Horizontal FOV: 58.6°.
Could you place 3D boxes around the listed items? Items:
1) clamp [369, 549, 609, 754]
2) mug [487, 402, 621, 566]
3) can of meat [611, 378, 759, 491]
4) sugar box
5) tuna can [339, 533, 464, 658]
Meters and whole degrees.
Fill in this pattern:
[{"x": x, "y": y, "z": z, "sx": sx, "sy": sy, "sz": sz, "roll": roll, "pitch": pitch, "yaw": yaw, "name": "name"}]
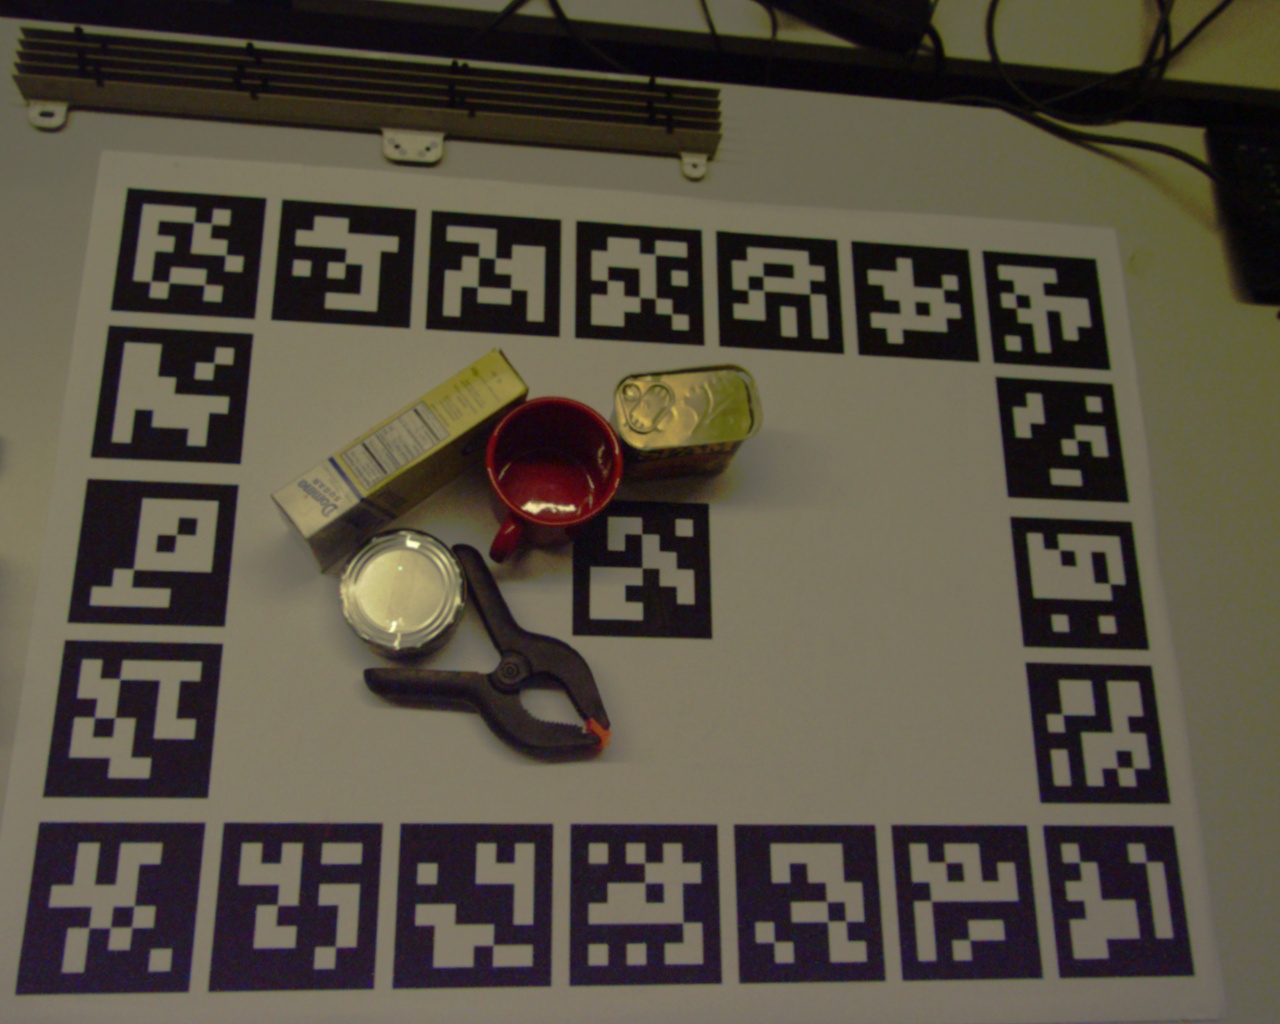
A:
[{"x": -0.093, "y": 0.118, "z": 0.812, "sx": 0.165, "sy": 0.037, "sz": 0.121, "roll": 37, "pitch": 68, "yaw": -2, "name": "clamp"}, {"x": -0.070, "y": -0.012, "z": 0.818, "sx": 0.093, "sy": 0.082, "sz": 0.117, "roll": 27, "pitch": 74, "yaw": -2, "name": "mug"}, {"x": 0.027, "y": -0.056, "z": 0.852, "sx": 0.101, "sy": 0.084, "sz": 0.058, "roll": -6, "pitch": 75, "yaw": -12, "name": "can of meat"}, {"x": -0.162, "y": -0.030, "z": 0.812, "sx": 0.175, "sy": 0.093, "sz": 0.045, "roll": -36, "pitch": 82, "yaw": -17, "name": "sugar box"}, {"x": -0.169, "y": 0.060, "z": 0.810, "sx": 0.085, "sy": 0.034, "sz": 0.086, "roll": 2, "pitch": 77, "yaw": -8, "name": "tuna can"}]
